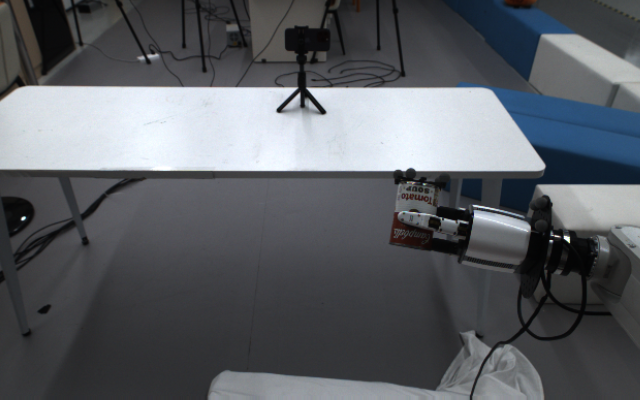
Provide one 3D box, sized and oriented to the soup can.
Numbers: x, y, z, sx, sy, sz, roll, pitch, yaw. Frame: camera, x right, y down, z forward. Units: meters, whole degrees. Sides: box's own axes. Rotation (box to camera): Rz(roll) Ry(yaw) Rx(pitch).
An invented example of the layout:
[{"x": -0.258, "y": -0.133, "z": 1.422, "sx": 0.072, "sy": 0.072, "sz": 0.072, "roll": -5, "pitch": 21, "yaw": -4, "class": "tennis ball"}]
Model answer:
[{"x": 0.152, "y": 0.024, "z": 0.775, "sx": 0.067, "sy": 0.101, "sz": 0.067, "roll": 9, "pitch": -5, "yaw": 1, "class": "soup can"}]
